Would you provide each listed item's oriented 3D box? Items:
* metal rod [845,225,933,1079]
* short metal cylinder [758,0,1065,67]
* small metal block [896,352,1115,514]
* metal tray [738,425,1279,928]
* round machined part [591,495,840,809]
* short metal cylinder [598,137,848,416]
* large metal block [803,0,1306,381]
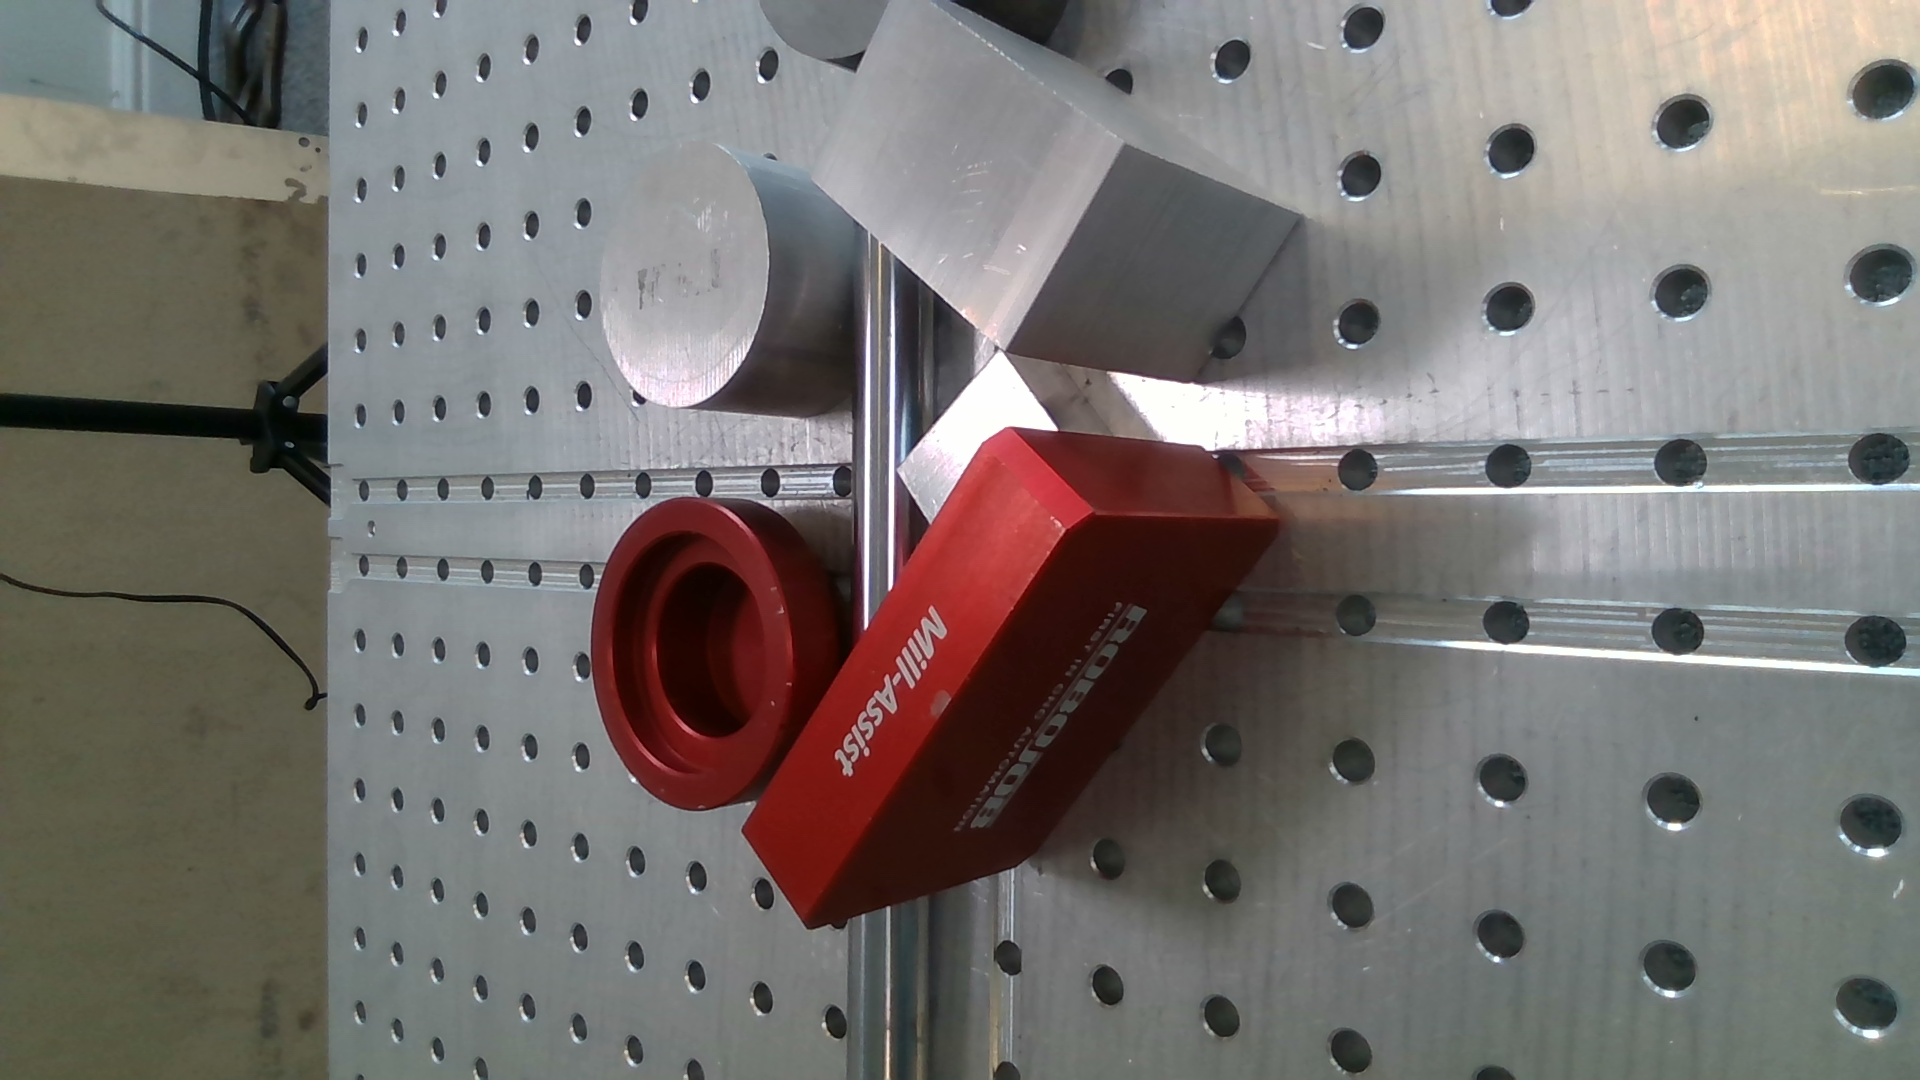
[{"bbox_3d":[-0.021,0.024,0.412,0.025,0.025,0.300,1,91,40],"label":"metal rod"},{"bbox_3d":[-0.013,-0.170,0.386,0.080,0.050,0.080,0,91,40],"label":"short metal cylinder"},{"bbox_3d":[0.017,-0.018,0.380,0.050,0.025,0.050,-47,62,30],"label":"small metal block"},{"bbox_3d":[0.012,0.034,0.341,0.030,0.090,0.130,48,119,29],"label":"metal tray"},{"bbox_3d":[-0.073,0.035,0.445,0.098,0.042,0.098,0,91,40],"label":"round machined part"},{"bbox_3d":[-0.069,-0.081,0.434,0.080,0.050,0.080,0,91,40],"label":"short metal cylinder"},{"bbox_3d":[0.023,-0.085,0.338,0.080,0.080,0.050,46,118,30],"label":"large metal block"}]
